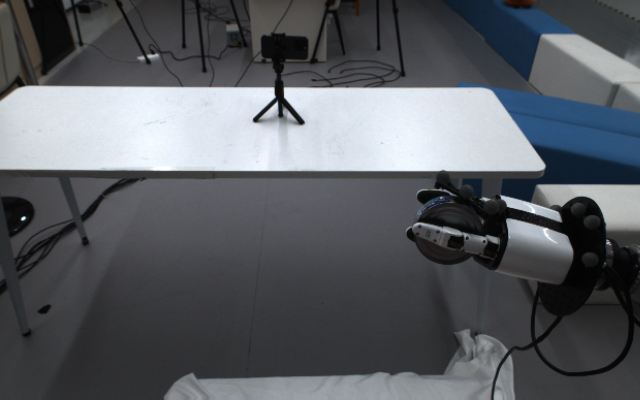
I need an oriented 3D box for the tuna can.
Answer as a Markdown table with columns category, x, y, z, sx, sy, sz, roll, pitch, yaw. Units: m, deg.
| category | x | y | z | sx | sy | sz | roll | pitch | yaw |
| --- | --- | --- | --- | --- | --- | --- | --- | --- | --- |
| tuna can | 0.168 | 0.036 | 0.629 | 0.085 | 0.085 | 0.034 | 7 | 16 | 7 |
